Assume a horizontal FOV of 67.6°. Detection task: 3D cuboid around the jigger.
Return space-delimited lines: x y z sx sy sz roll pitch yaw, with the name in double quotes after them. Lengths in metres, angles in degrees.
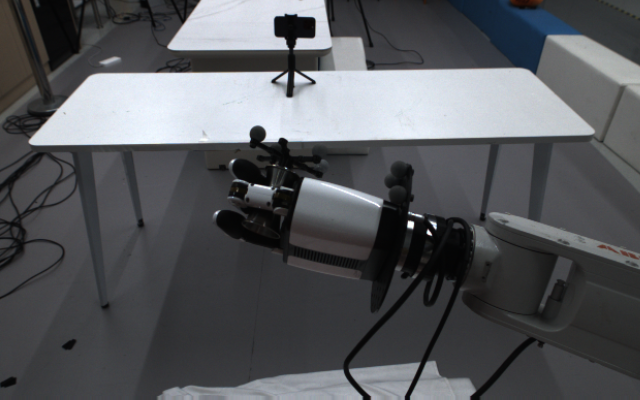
-0.047 0.002 0.514 0.043 0.043 0.071 12 71 14 "jigger"
